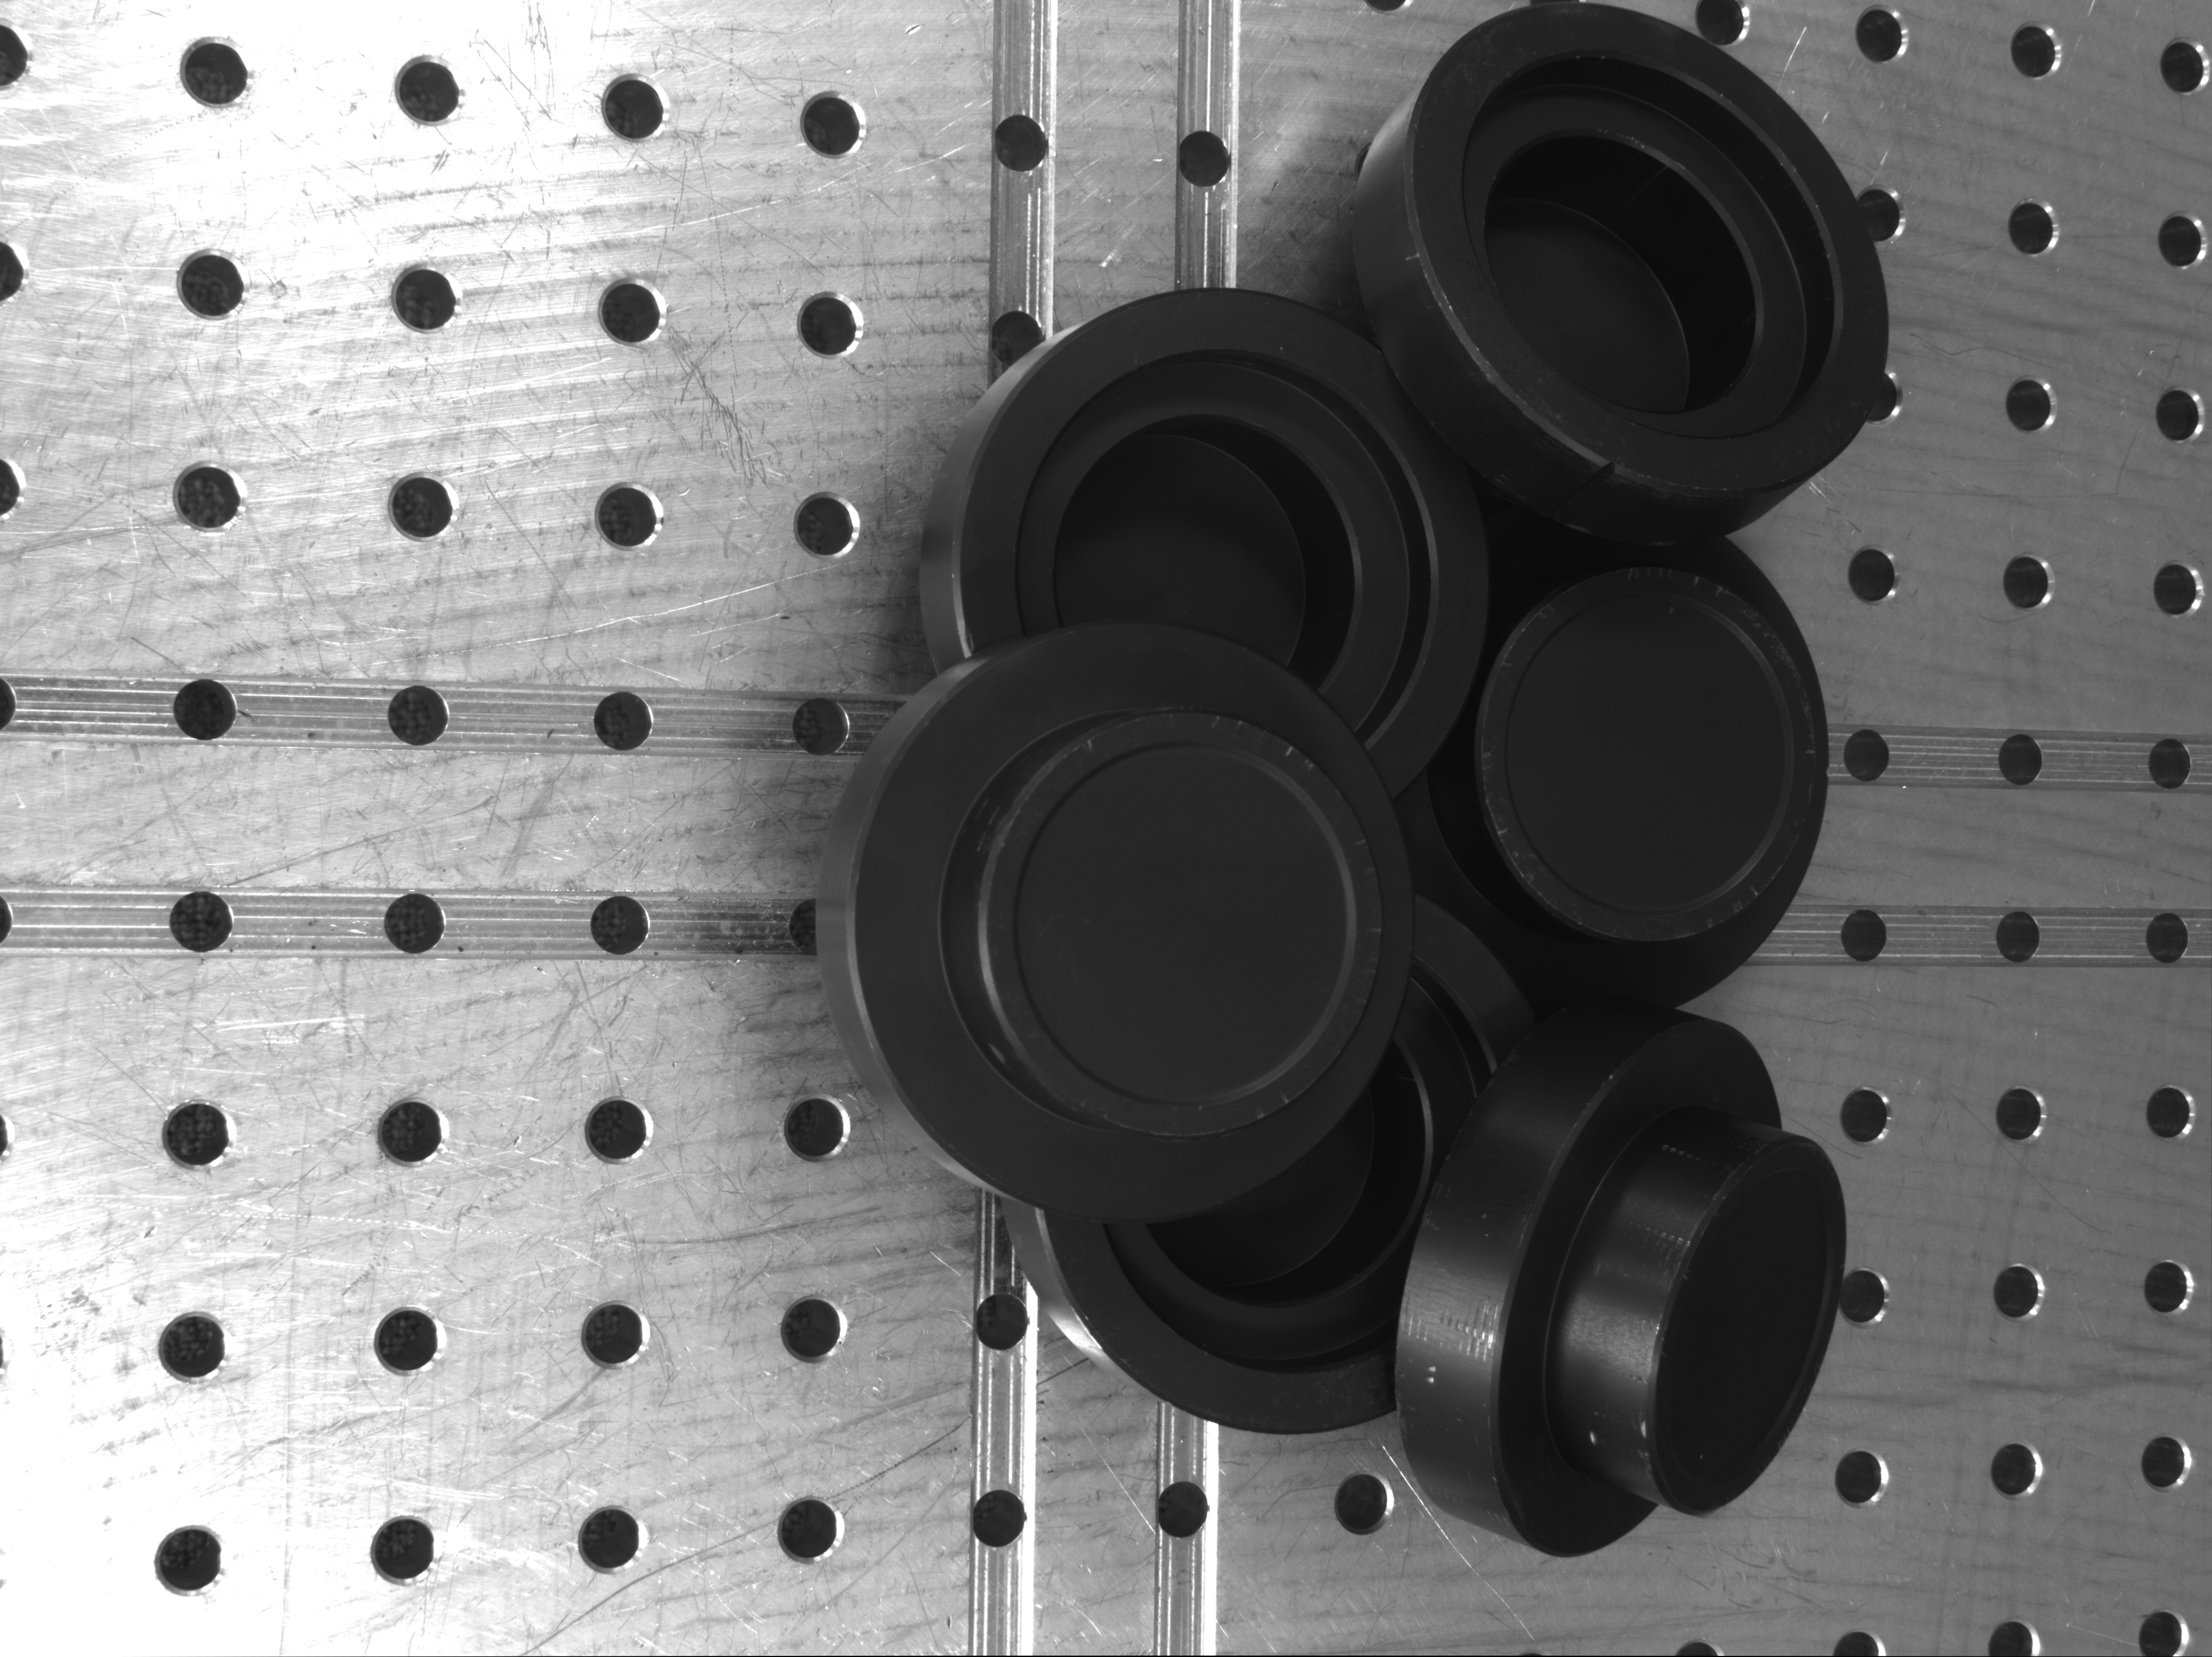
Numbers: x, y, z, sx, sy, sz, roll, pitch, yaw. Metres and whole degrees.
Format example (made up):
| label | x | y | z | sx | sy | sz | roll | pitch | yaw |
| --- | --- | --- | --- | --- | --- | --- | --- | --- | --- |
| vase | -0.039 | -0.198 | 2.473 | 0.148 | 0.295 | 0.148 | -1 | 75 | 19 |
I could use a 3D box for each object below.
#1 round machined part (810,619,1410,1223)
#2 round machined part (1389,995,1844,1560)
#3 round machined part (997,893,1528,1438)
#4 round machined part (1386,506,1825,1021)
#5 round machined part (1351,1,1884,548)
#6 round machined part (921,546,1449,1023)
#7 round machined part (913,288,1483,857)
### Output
| label | x | y | z | sx | sy | sz | roll | pitch | yaw |
| --- | --- | --- | --- | --- | --- | --- | --- | --- | --- |
| round machined part | 0.005 | 0.015 | 0.594 | 0.098 | 0.042 | 0.098 | 0 | 90 | -20 |
| round machined part | 0.095 | 0.082 | 0.645 | 0.098 | 0.042 | 0.098 | -23 | 120 | -46 |
| round machined part | 0.026 | 0.055 | 0.646 | 0.098 | 0.042 | 0.098 | 0 | 90 | -20 |
| round machined part | 0.089 | -0.013 | 0.669 | 0.098 | 0.042 | 0.098 | 0 | 90 | -20 |
| round machined part | 0.087 | -0.094 | 0.656 | 0.098 | 0.042 | 0.098 | 10 | 65 | -23 |
| round machined part | 0.007 | 0.001 | 0.639 | 0.098 | 0.042 | 0.098 | 0 | 90 | -20 |
| round machined part | 0.013 | -0.043 | 0.642 | 0.098 | 0.042 | 0.098 | 0 | 90 | -20 |
